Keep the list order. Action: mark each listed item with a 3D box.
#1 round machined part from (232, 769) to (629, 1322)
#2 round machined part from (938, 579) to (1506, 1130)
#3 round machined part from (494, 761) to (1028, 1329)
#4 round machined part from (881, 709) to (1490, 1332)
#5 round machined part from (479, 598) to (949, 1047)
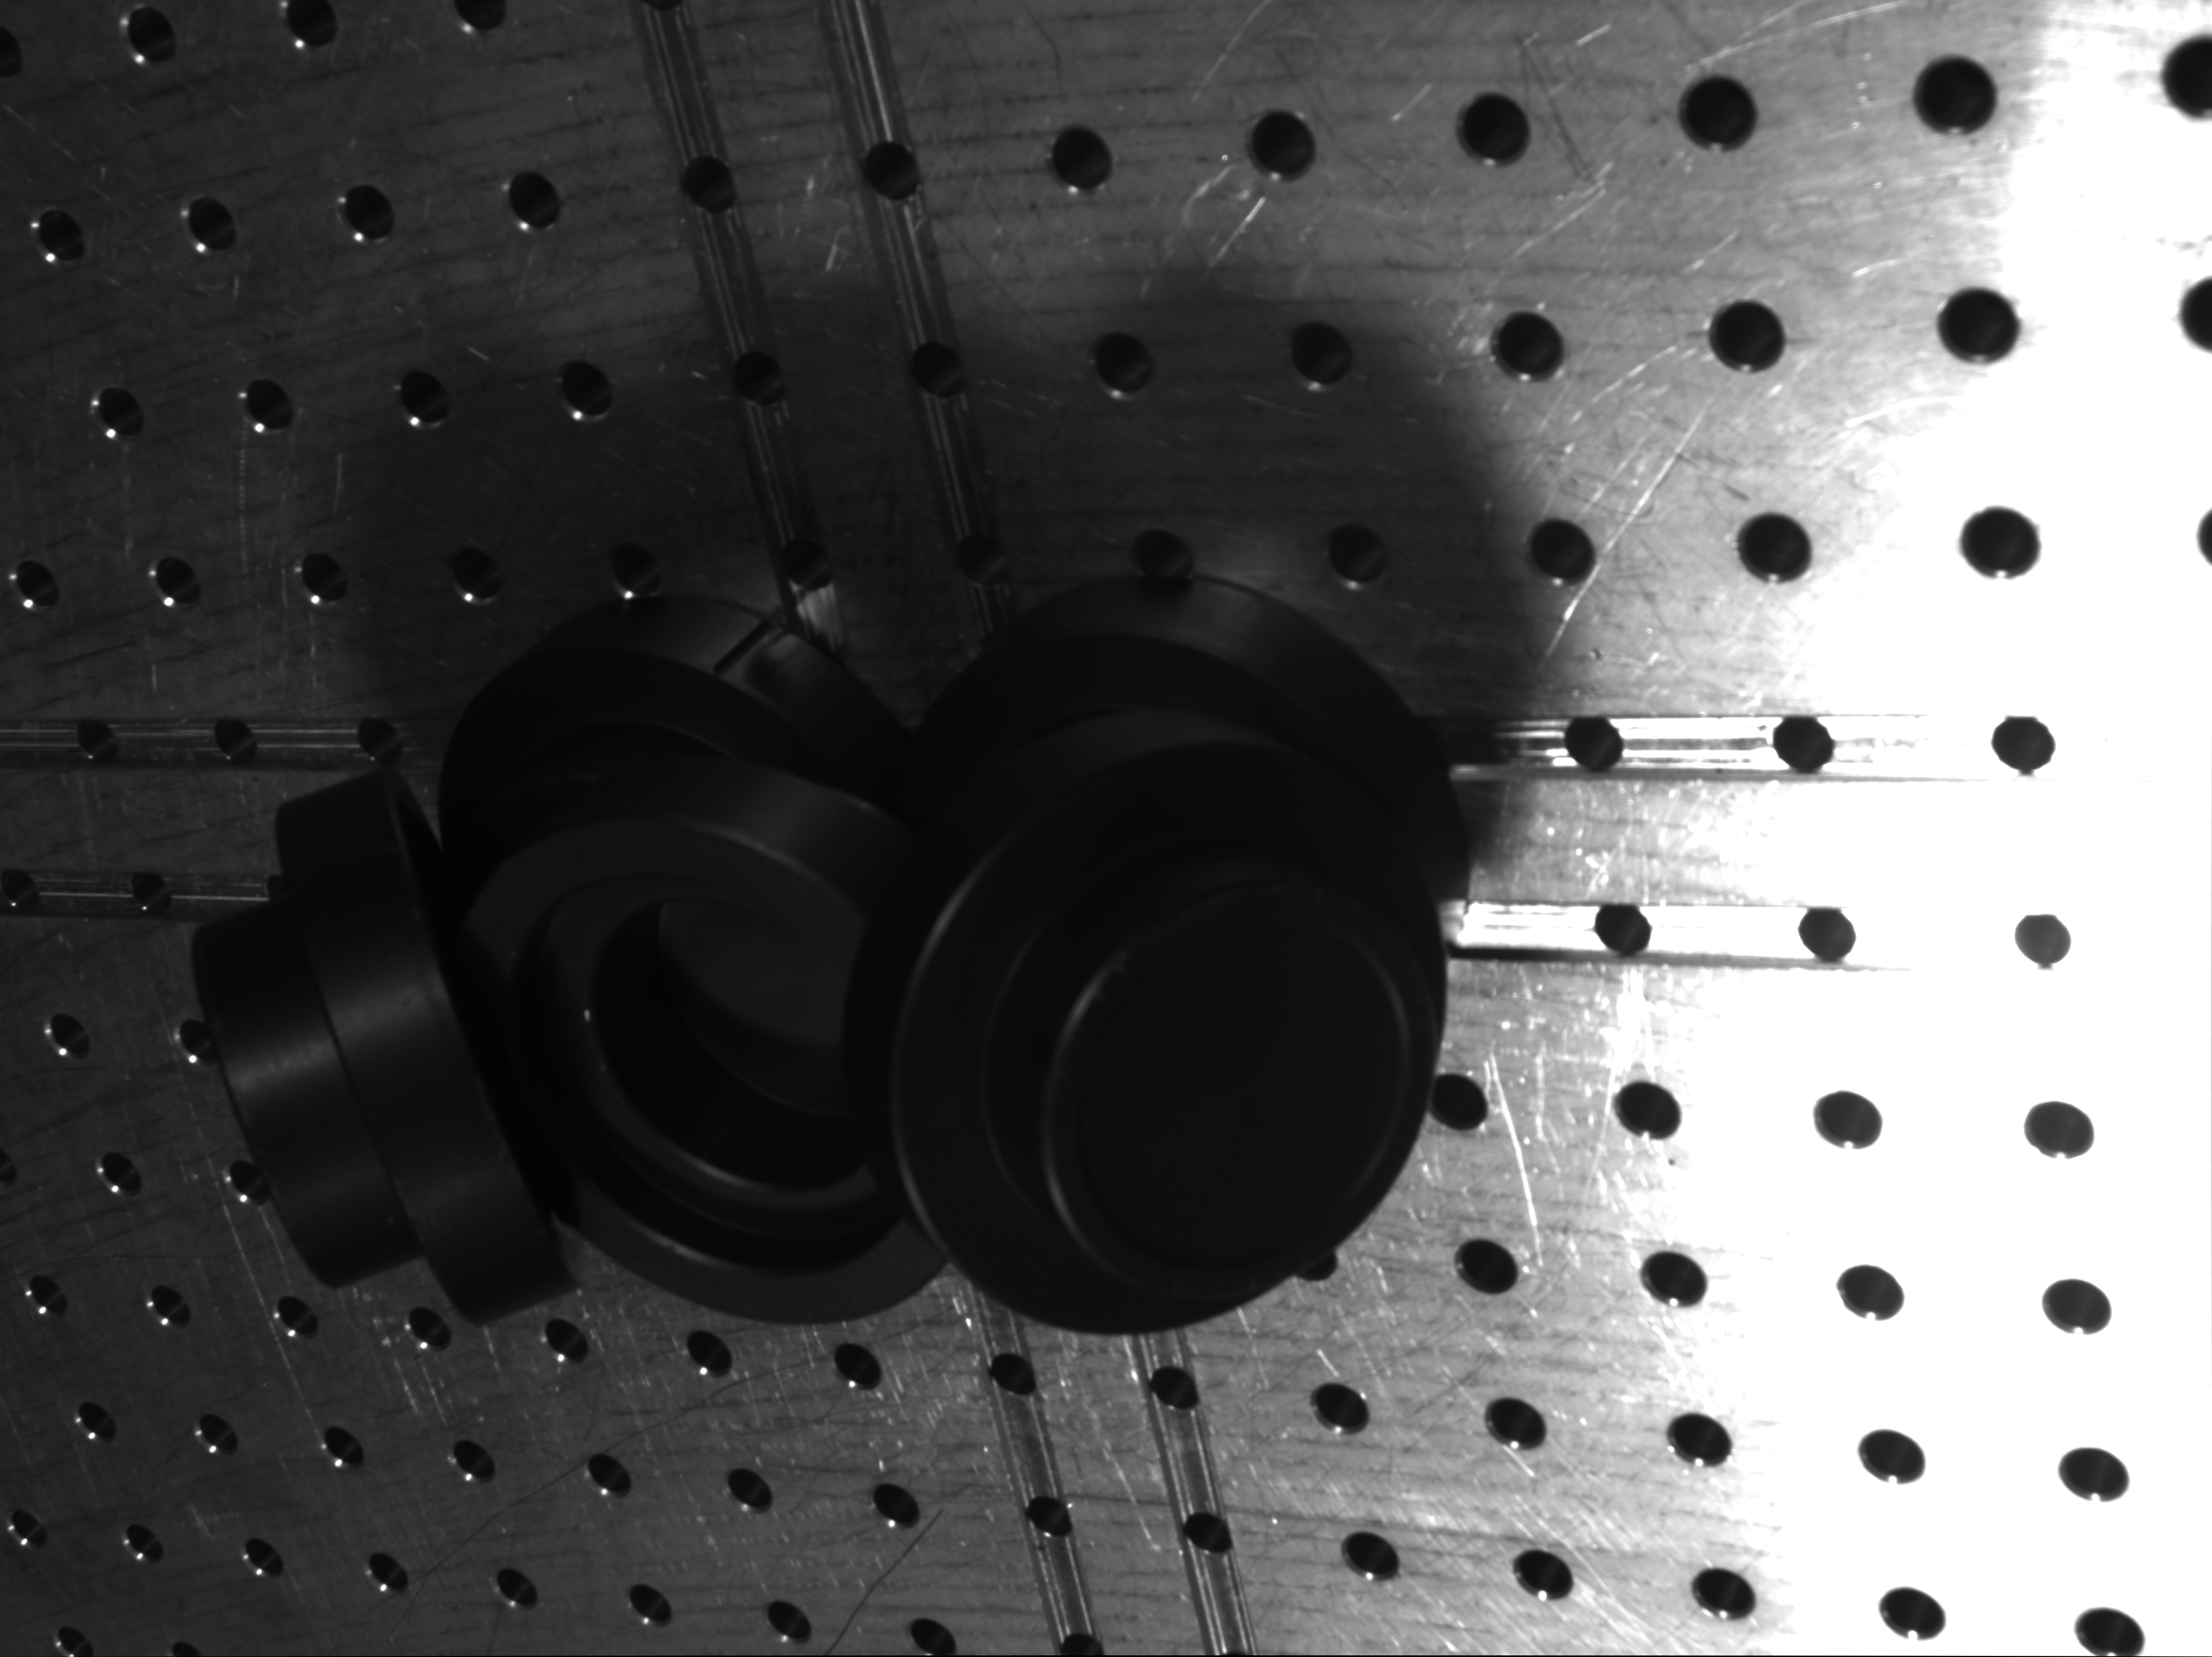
[{"bbox_3d":[-0.121,0.042,0.644,0.042,0.098,0.098,-21,112,-5],"label":"round machined part"},{"bbox_3d":[0.015,0.011,0.622,0.098,0.042,0.098,12,123,20],"label":"round machined part"},{"bbox_3d":[-0.050,0.032,0.612,0.098,0.042,0.098,12,123,20],"label":"round machined part"},{"bbox_3d":[0.018,0.034,0.570,0.042,0.098,0.098,36,144,58],"label":"round machined part"},{"bbox_3d":[-0.072,0.011,0.665,0.098,0.042,0.098,12,123,20],"label":"round machined part"}]
